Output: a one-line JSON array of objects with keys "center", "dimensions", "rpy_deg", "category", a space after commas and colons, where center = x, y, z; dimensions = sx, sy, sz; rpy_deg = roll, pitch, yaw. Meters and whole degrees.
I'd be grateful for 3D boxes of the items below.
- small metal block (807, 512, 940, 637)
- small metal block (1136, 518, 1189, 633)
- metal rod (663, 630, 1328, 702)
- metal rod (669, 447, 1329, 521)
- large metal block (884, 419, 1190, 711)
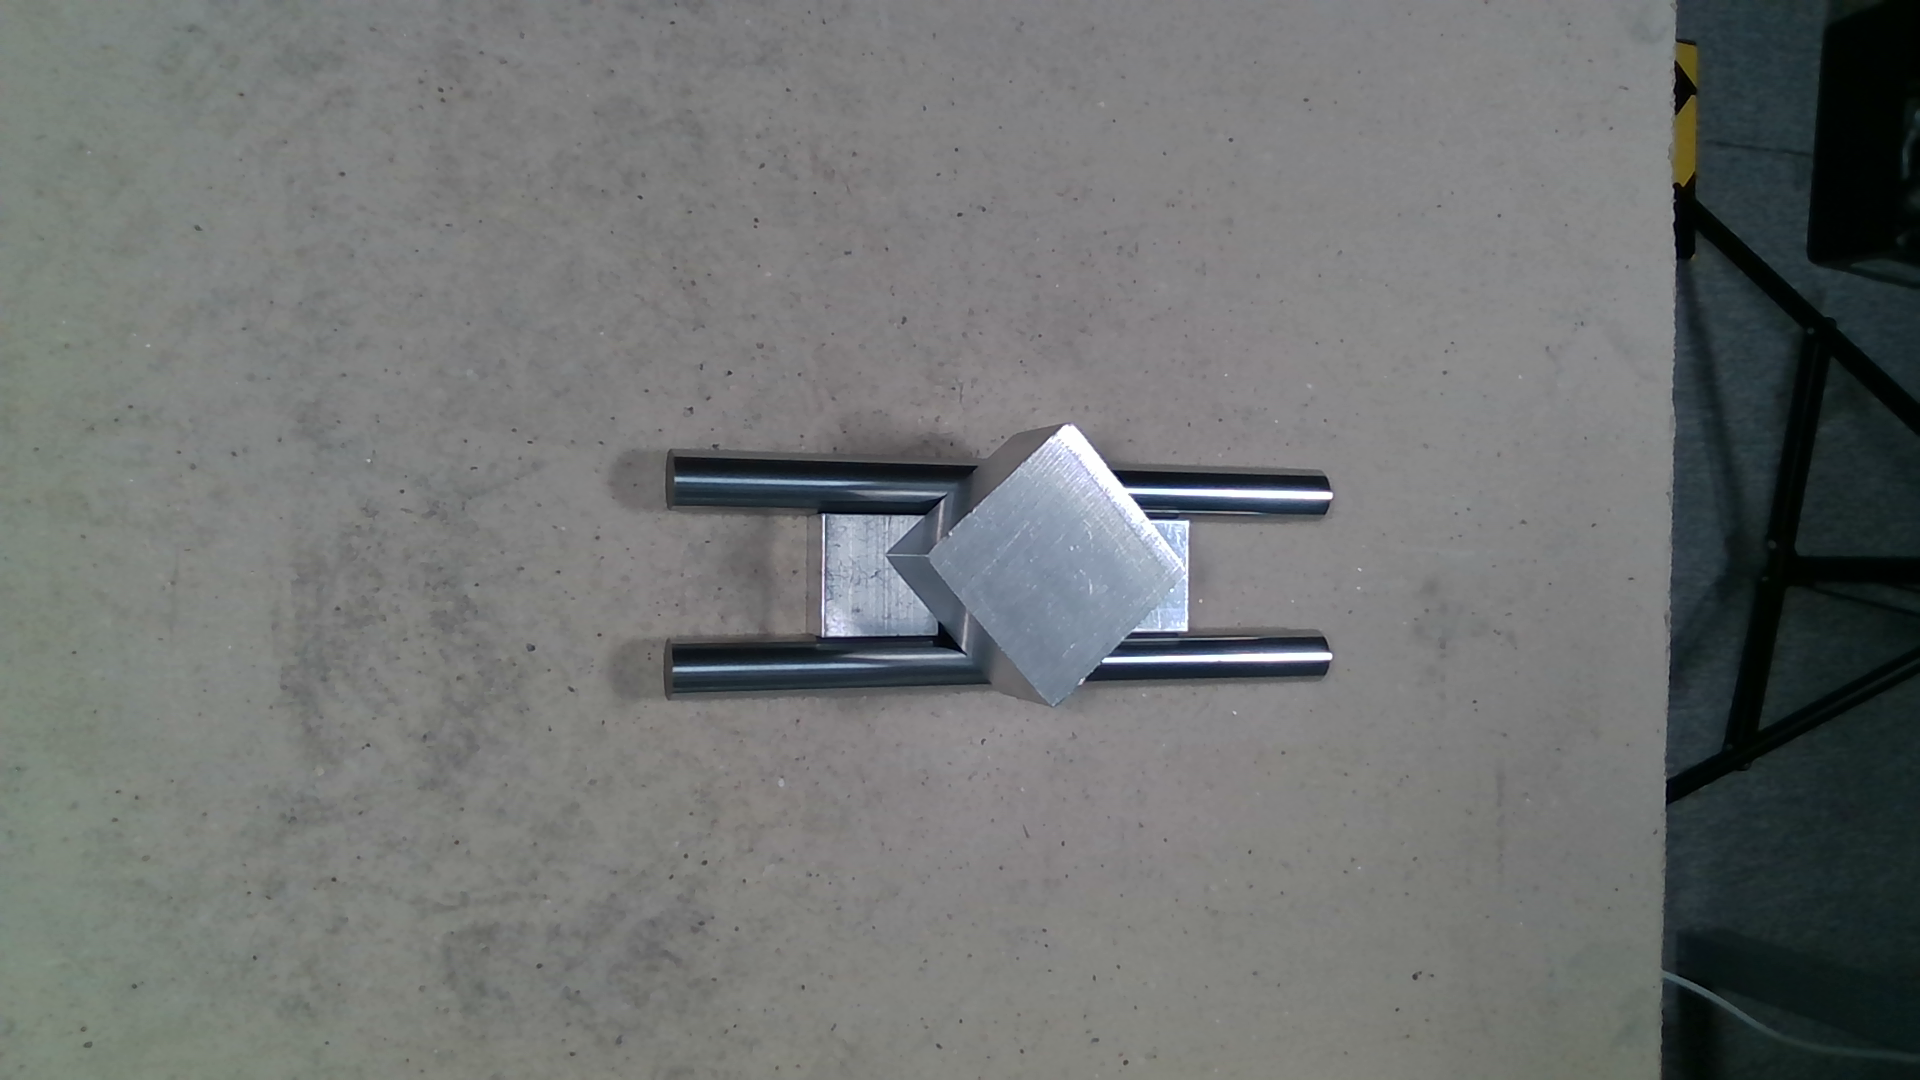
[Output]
[{"center": [-0.036, 0.014, 0.572], "dimensions": [0.050, 0.025, 0.050], "rpy_deg": [1, 90, -20], "category": "small metal block"}, {"center": [0.073, 0.015, 0.612], "dimensions": [0.050, 0.025, 0.050], "rpy_deg": [1, 90, -20], "category": "small metal block"}, {"center": [0.025, 0.053, 0.596], "dimensions": [0.300, 0.025, 0.025], "rpy_deg": [1, 90, -20], "category": "metal rod"}, {"center": [0.026, -0.023, 0.596], "dimensions": [0.300, 0.025, 0.025], "rpy_deg": [1, 90, -20], "category": "metal rod"}, {"center": [0.031, 0.009, 0.555], "dimensions": [0.080, 0.050, 0.080], "rpy_deg": [-43, 104, -15], "category": "large metal block"}]
